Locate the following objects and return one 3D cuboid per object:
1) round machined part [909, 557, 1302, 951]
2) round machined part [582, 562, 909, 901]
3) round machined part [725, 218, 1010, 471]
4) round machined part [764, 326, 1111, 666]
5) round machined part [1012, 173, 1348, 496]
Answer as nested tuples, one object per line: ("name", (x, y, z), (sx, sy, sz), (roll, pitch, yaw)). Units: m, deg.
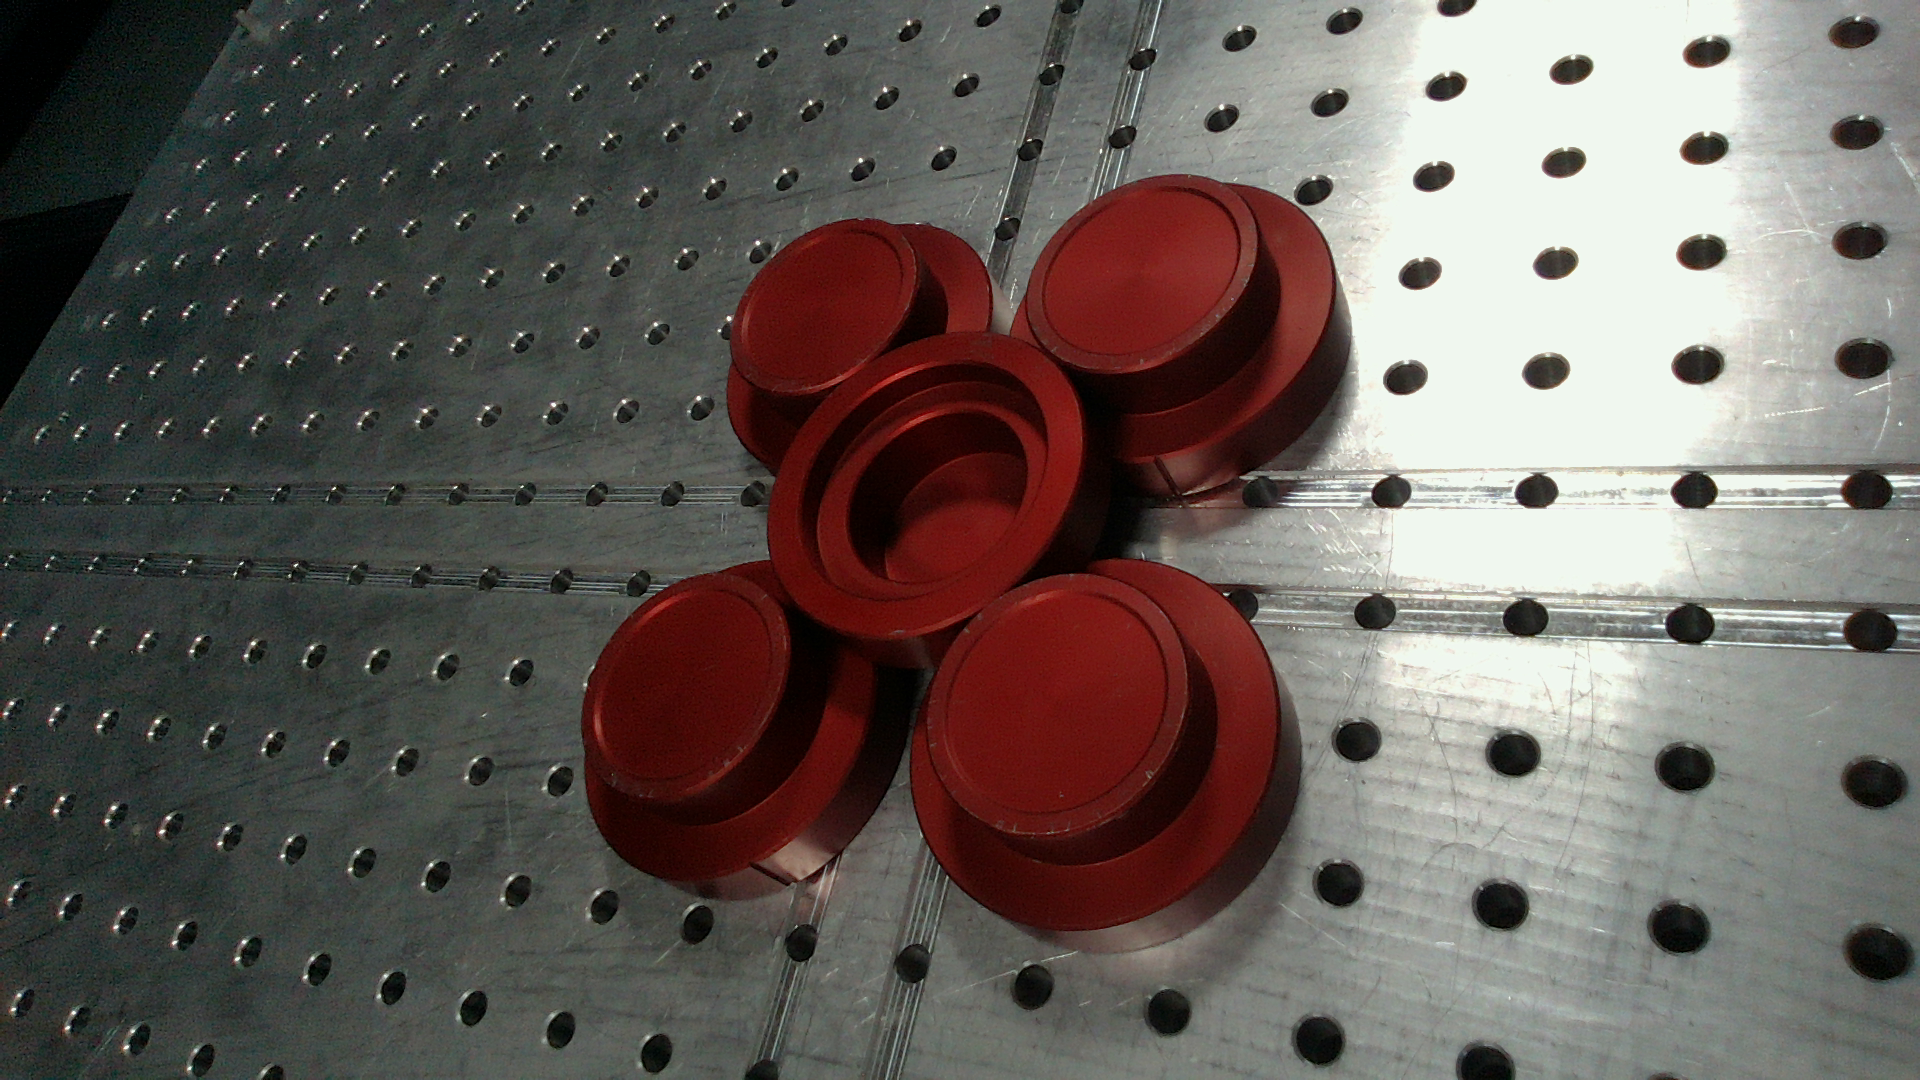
("round machined part", (0.031, 0.047, 0.339), (0.098, 0.042, 0.098), (-13, 56, 21))
("round machined part", (-0.067, 0.049, 0.393), (0.098, 0.042, 0.098), (-13, 56, 21))
("round machined part", (-0.035, -0.064, 0.444), (0.098, 0.042, 0.098), (-13, 56, 21))
("round machined part", (-0.003, -0.009, 0.391), (0.098, 0.042, 0.098), (-13, 56, 21))
("round machined part", (0.058, -0.065, 0.394), (0.098, 0.042, 0.098), (-13, 56, 21))
